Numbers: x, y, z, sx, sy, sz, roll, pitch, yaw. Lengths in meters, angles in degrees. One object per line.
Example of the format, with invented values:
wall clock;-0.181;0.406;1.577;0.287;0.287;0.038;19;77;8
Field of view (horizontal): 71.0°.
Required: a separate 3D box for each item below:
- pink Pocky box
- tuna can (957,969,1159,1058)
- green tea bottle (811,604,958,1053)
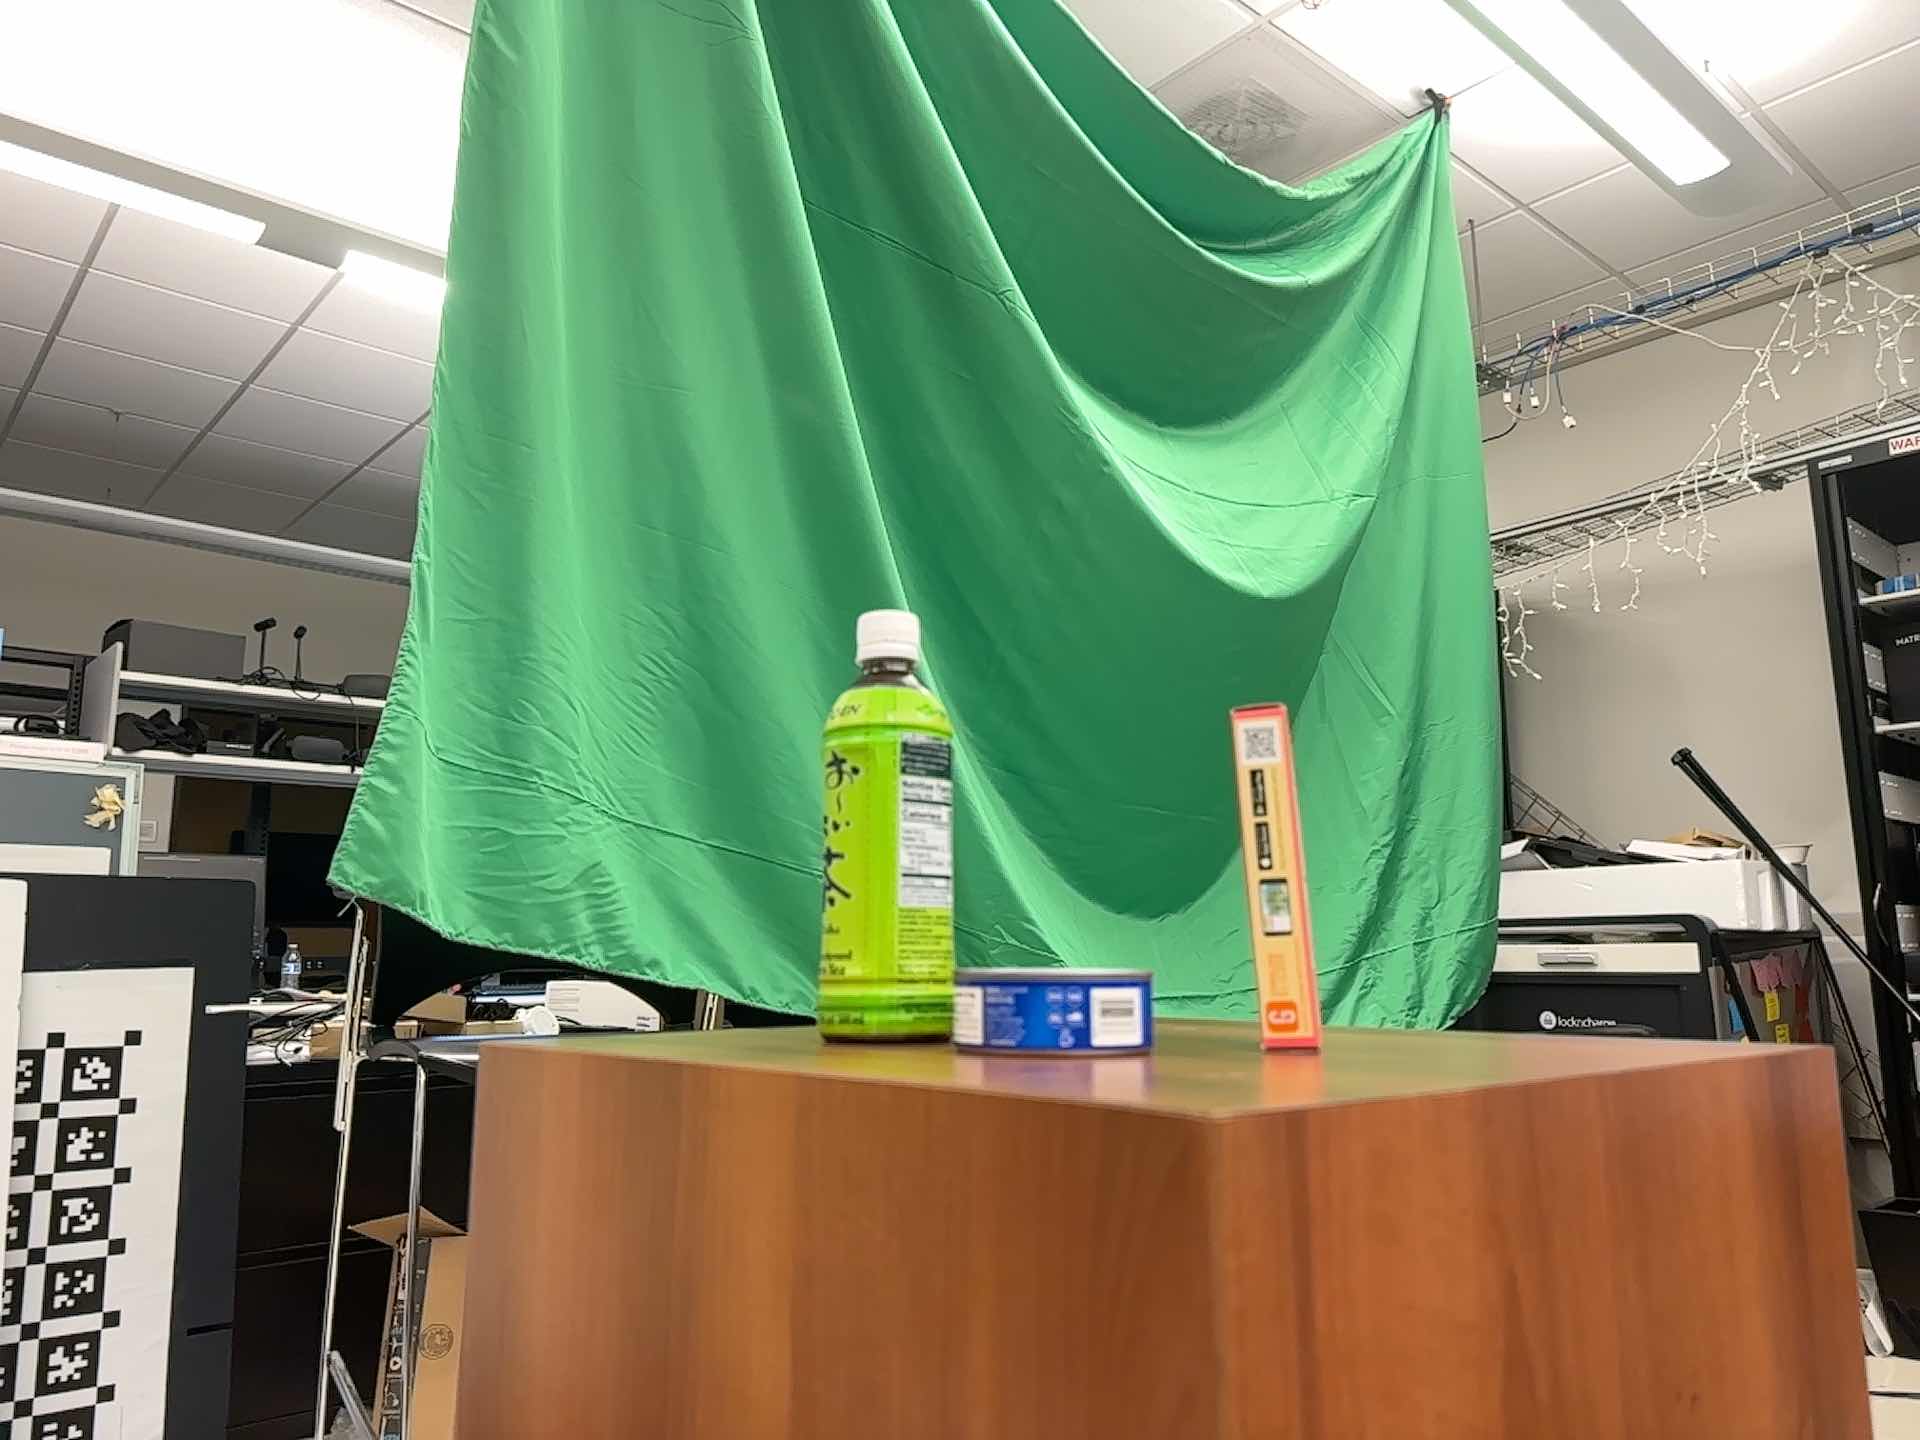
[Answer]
pink Pocky box;0.148;0.070;0.620;0.029;0.155;0.084;-6;-10;13
tuna can;0.041;0.121;0.563;0.083;0.034;0.083;0;-10;0
green tea bottle;-0.036;0.050;0.649;0.073;0.212;0.073;-1;-11;0
